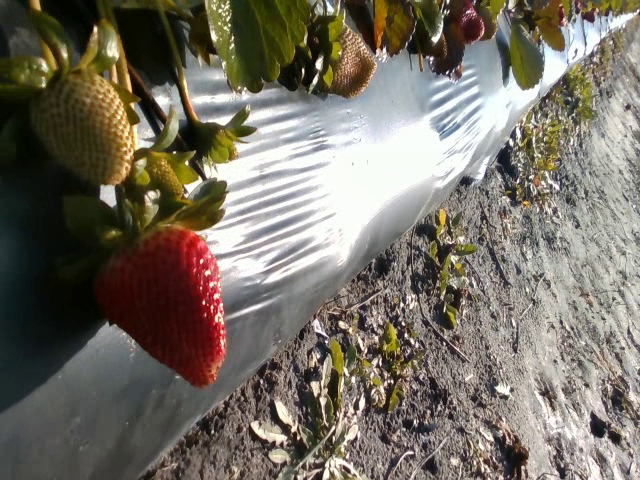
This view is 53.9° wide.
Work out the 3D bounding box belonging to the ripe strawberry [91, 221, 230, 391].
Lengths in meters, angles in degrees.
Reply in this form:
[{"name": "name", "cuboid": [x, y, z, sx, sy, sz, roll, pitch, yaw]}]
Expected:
[{"name": "ripe strawberry", "cuboid": [-0.048, 0.022, 0.190, 0.042, 0.059, 0.042, -21, -9, 17]}]
